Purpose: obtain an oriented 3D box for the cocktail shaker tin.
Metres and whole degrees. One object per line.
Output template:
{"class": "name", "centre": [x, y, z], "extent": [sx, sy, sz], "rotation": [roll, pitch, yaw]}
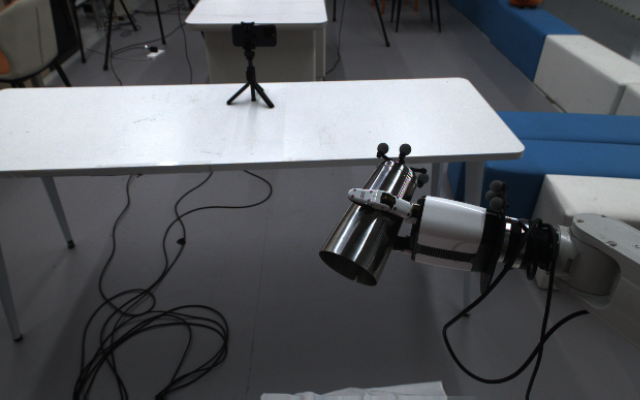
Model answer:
{"class": "cocktail shaker tin", "centre": [0.080, 0.024, 0.703], "extent": [0.093, 0.093, 0.170], "rotation": [20, 67, 24]}
